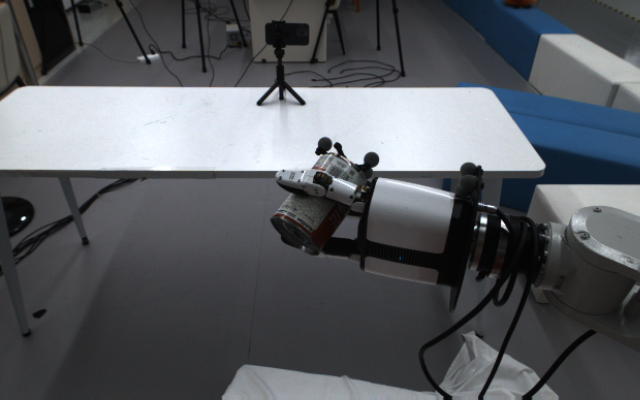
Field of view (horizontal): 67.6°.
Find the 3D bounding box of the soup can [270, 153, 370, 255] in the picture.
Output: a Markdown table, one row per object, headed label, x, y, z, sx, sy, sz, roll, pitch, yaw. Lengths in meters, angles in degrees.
| label | x | y | z | sx | sy | sz | roll | pitch | yaw |
| --- | --- | --- | --- | --- | --- | --- | --- | --- | --- |
| soup can | 0.001 | 0.003 | 0.558 | 0.067 | 0.067 | 0.101 | 25 | 67 | 30 |
